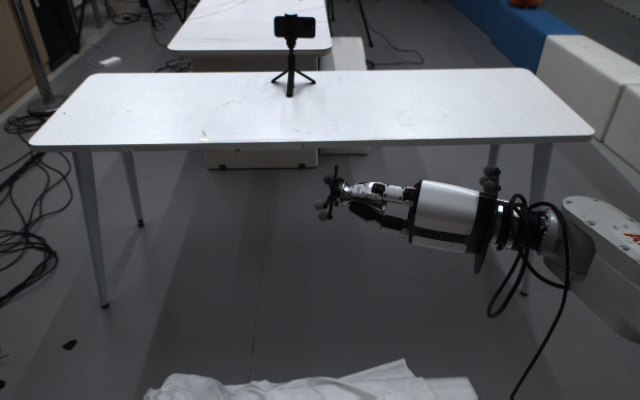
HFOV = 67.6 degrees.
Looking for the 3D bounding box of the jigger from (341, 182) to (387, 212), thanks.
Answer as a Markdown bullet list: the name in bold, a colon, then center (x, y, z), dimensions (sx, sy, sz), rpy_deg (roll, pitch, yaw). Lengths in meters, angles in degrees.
- **jigger**: center (0.075, -0.008, 0.759), dimensions (0.071, 0.043, 0.043), rpy_deg (10, 35, 15)
